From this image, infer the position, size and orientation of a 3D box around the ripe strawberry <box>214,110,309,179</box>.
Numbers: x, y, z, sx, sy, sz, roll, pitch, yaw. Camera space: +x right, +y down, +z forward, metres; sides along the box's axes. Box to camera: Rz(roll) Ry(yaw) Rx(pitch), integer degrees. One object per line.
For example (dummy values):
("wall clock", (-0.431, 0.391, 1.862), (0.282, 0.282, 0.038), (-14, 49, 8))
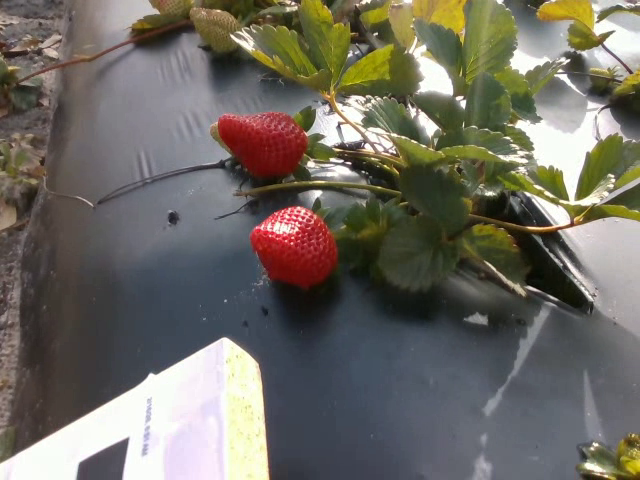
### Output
("ripe strawberry", (-0.024, -0.046, 0.257), (0.036, 0.041, 0.035), (20, 18, -26))

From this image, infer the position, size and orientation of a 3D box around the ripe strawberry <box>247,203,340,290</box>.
("ripe strawberry", (-0.012, -0.002, 0.204), (0.037, 0.034, 0.039), (-33, -35, 32))
